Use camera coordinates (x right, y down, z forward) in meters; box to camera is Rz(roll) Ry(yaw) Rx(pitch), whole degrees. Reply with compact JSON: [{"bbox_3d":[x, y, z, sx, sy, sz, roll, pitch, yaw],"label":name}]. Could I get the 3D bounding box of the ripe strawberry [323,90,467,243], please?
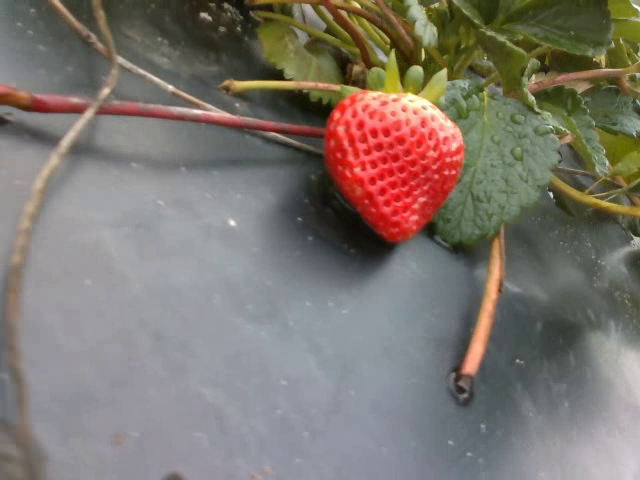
[{"bbox_3d":[0.028,-0.026,0.220,0.049,0.065,0.061,-6,-18,40],"label":"ripe strawberry"}]
